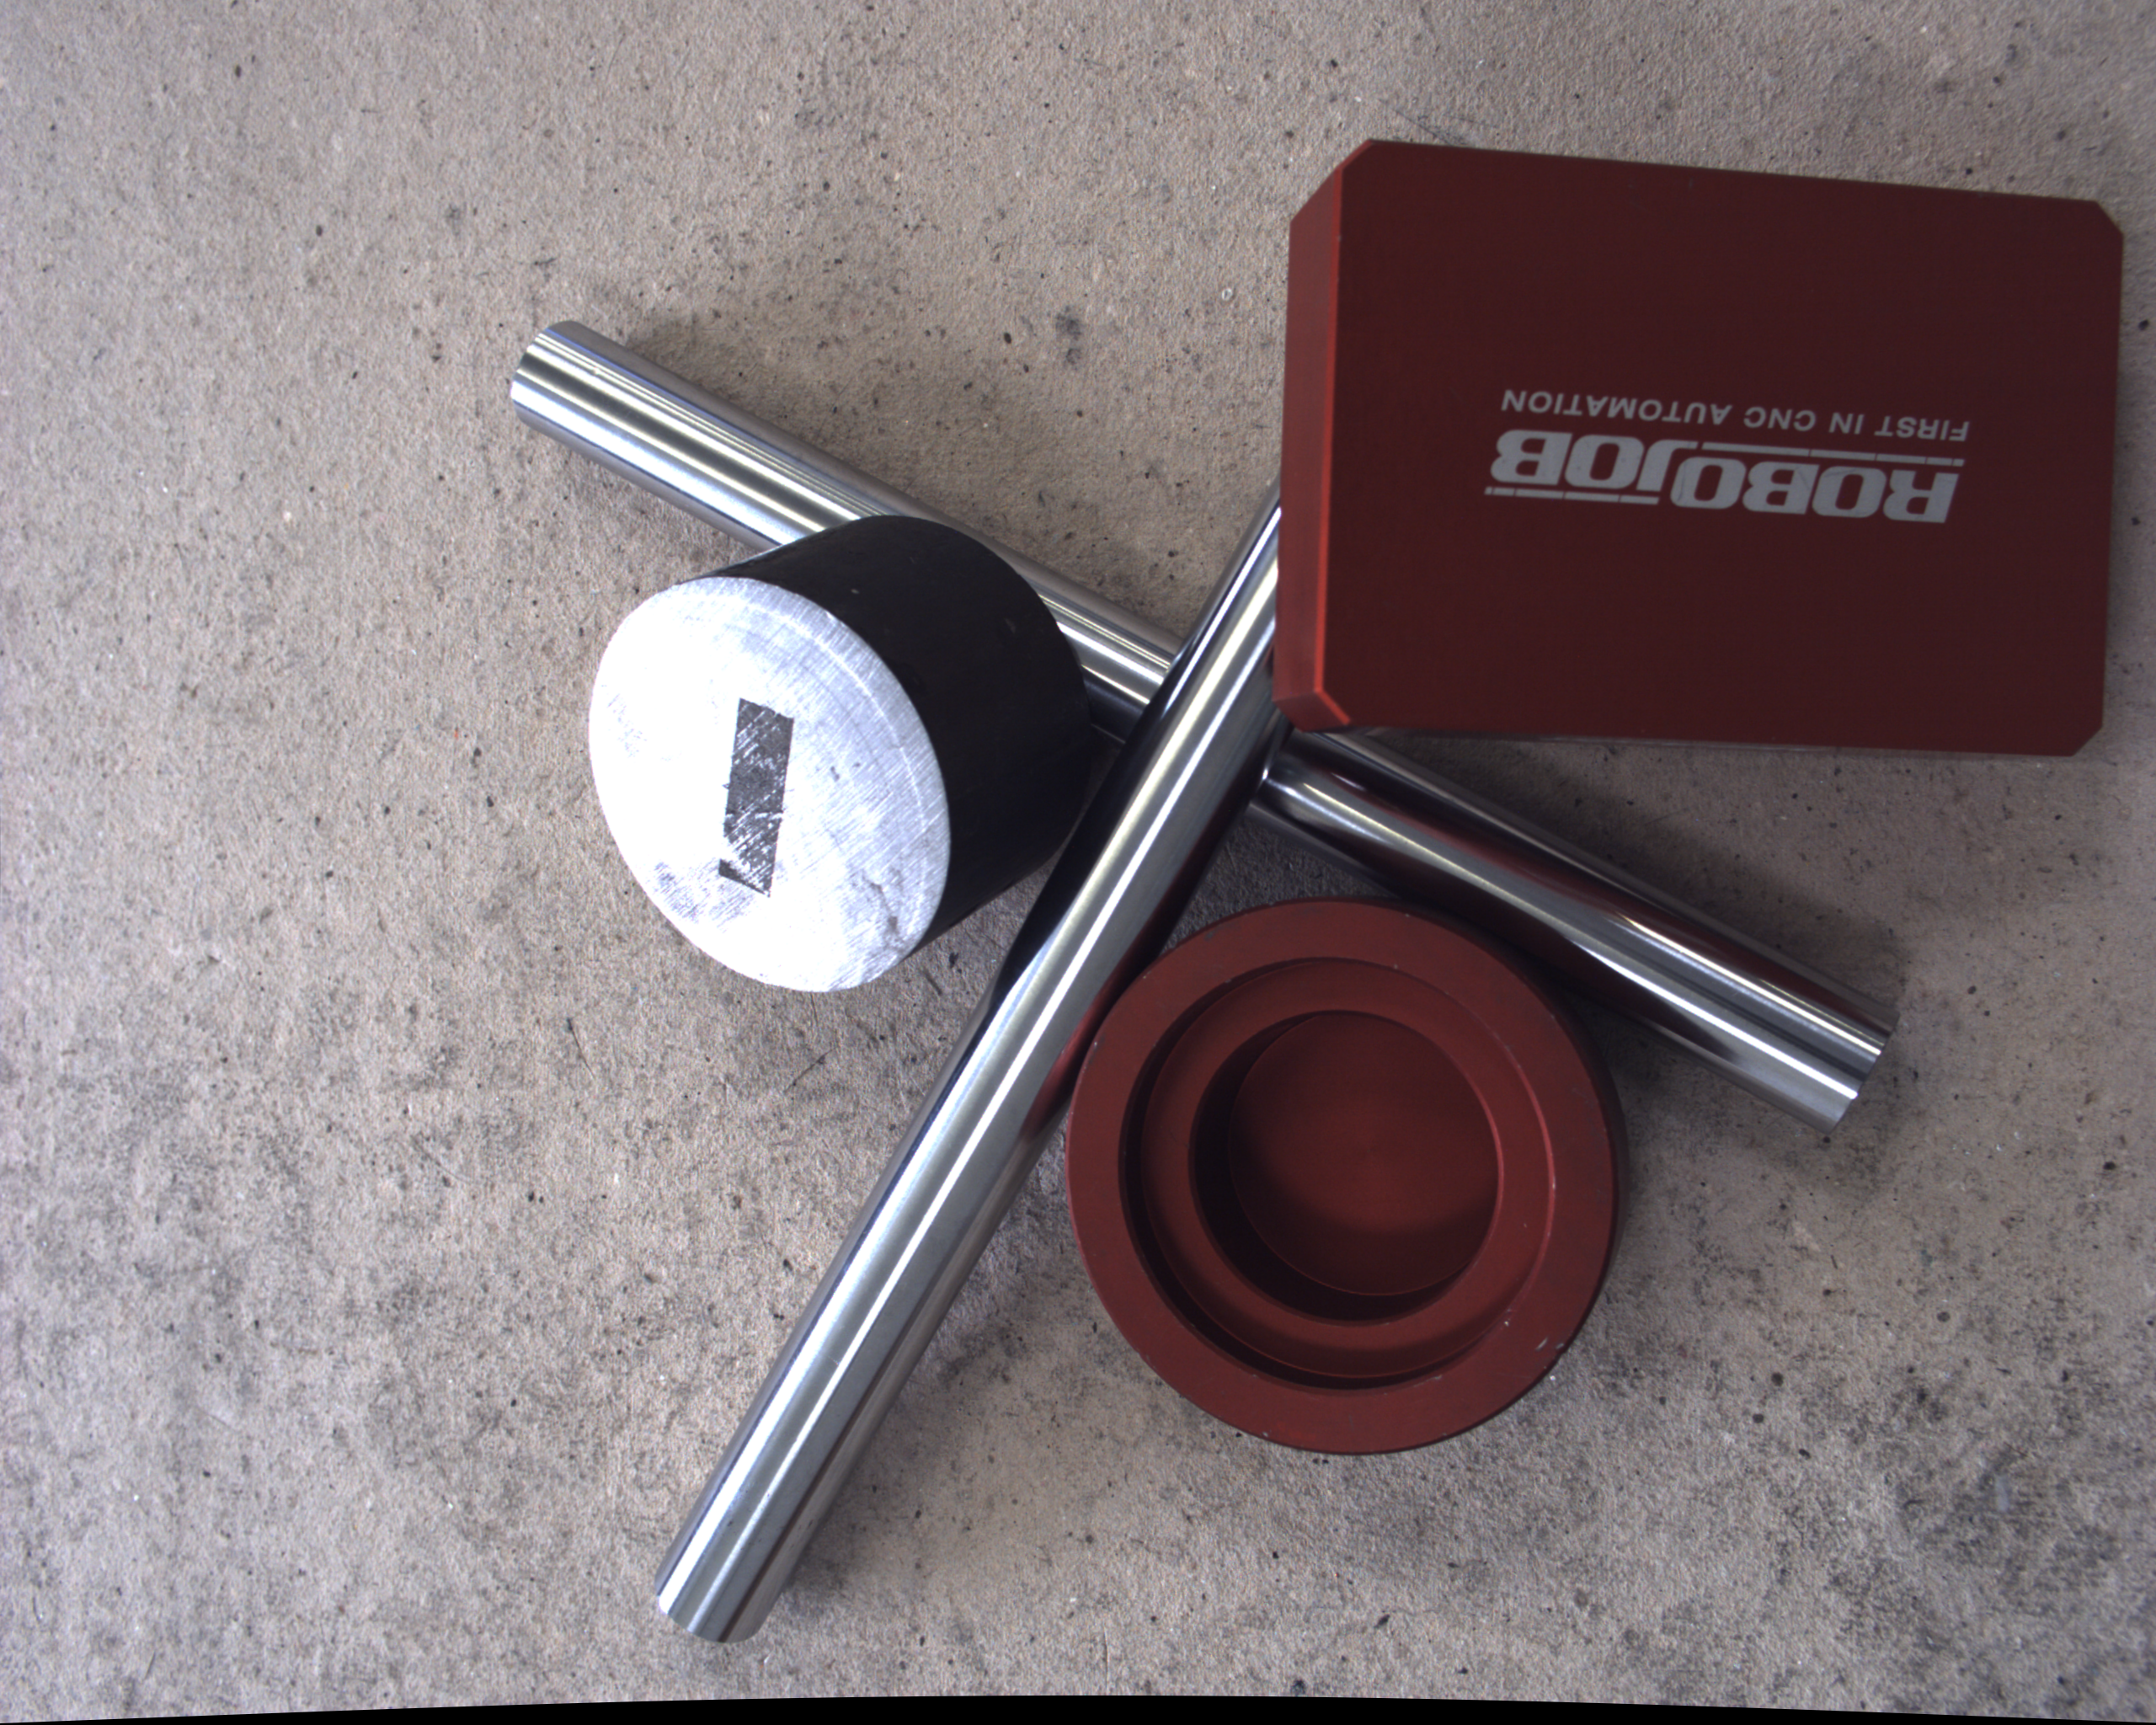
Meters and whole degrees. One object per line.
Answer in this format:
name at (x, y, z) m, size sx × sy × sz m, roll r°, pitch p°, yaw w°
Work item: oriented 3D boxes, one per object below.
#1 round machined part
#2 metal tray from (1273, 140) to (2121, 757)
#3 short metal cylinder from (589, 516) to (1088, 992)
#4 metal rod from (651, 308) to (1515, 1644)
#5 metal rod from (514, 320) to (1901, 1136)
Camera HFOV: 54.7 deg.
round machined part at (0.051, 0.055, 0.383) m, size 0.098 × 0.042 × 0.097 m, roll 0°, pitch 90°, yaw 20°
metal tray at (0.101, -0.064, 0.342) m, size 0.131 × 0.030 × 0.089 m, roll 2°, pitch 91°, yaw -8°
short metal cylinder at (-0.046, -0.022, 0.399) m, size 0.080 × 0.050 × 0.079 m, roll 13°, pitch 116°, yaw 27°
metal rod at (-0.007, 0.030, 0.394) m, size 0.025 × 0.025 × 0.298 m, roll 35°, pitch 108°, yaw 16°
metal rod at (0.012, -0.034, 0.407) m, size 0.300 × 0.025 × 0.025 m, roll 30°, pitch 100°, yaw 17°
